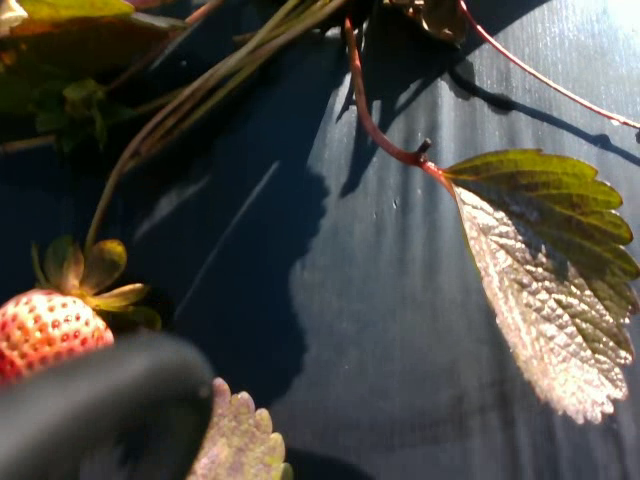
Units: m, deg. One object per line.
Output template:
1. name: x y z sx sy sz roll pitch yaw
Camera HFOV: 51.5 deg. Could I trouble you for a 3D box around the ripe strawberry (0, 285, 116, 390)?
1. ripe strawberry: -0.082 0.039 0.184 0.043 0.064 0.044 27 -29 -29
